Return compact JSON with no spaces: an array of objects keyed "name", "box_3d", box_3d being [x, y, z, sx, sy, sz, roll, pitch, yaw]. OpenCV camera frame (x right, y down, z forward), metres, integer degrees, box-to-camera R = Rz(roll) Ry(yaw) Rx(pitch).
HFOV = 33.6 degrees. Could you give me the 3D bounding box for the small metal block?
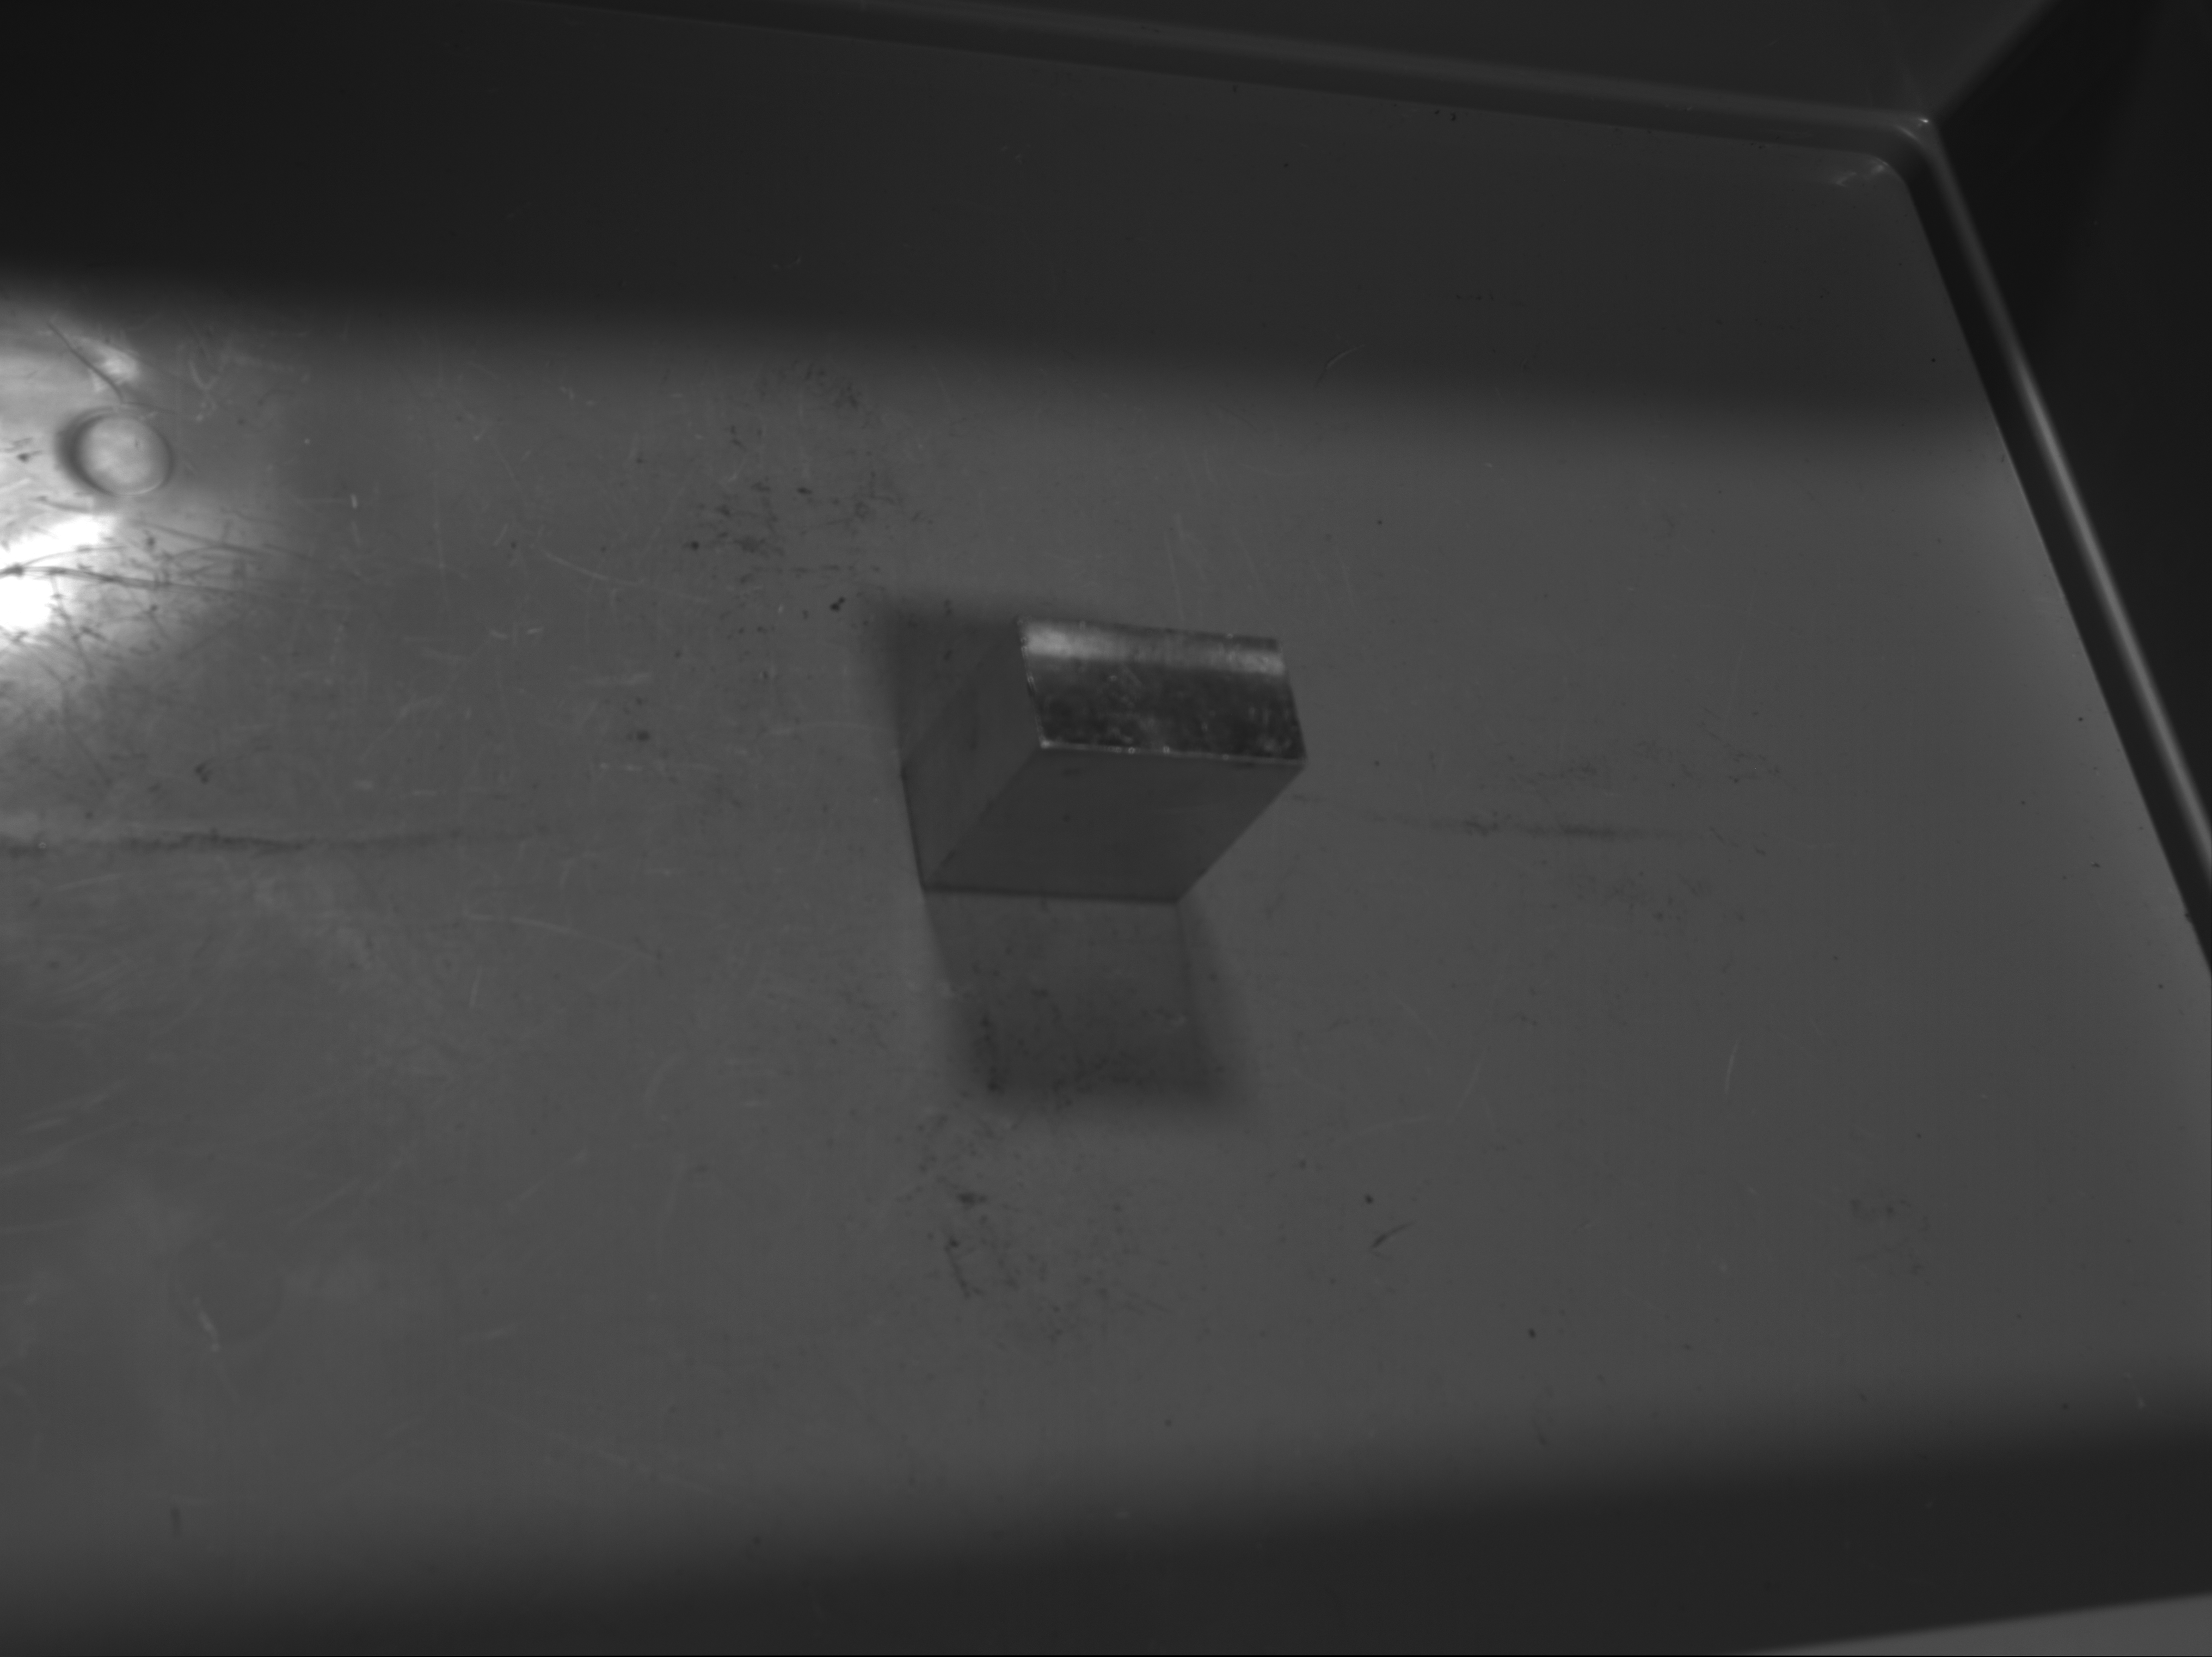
[{"name":"small metal block","box_3d":[0.002,-0.011,0.627,0.050,0.050,0.025,3,60,-26]}]
